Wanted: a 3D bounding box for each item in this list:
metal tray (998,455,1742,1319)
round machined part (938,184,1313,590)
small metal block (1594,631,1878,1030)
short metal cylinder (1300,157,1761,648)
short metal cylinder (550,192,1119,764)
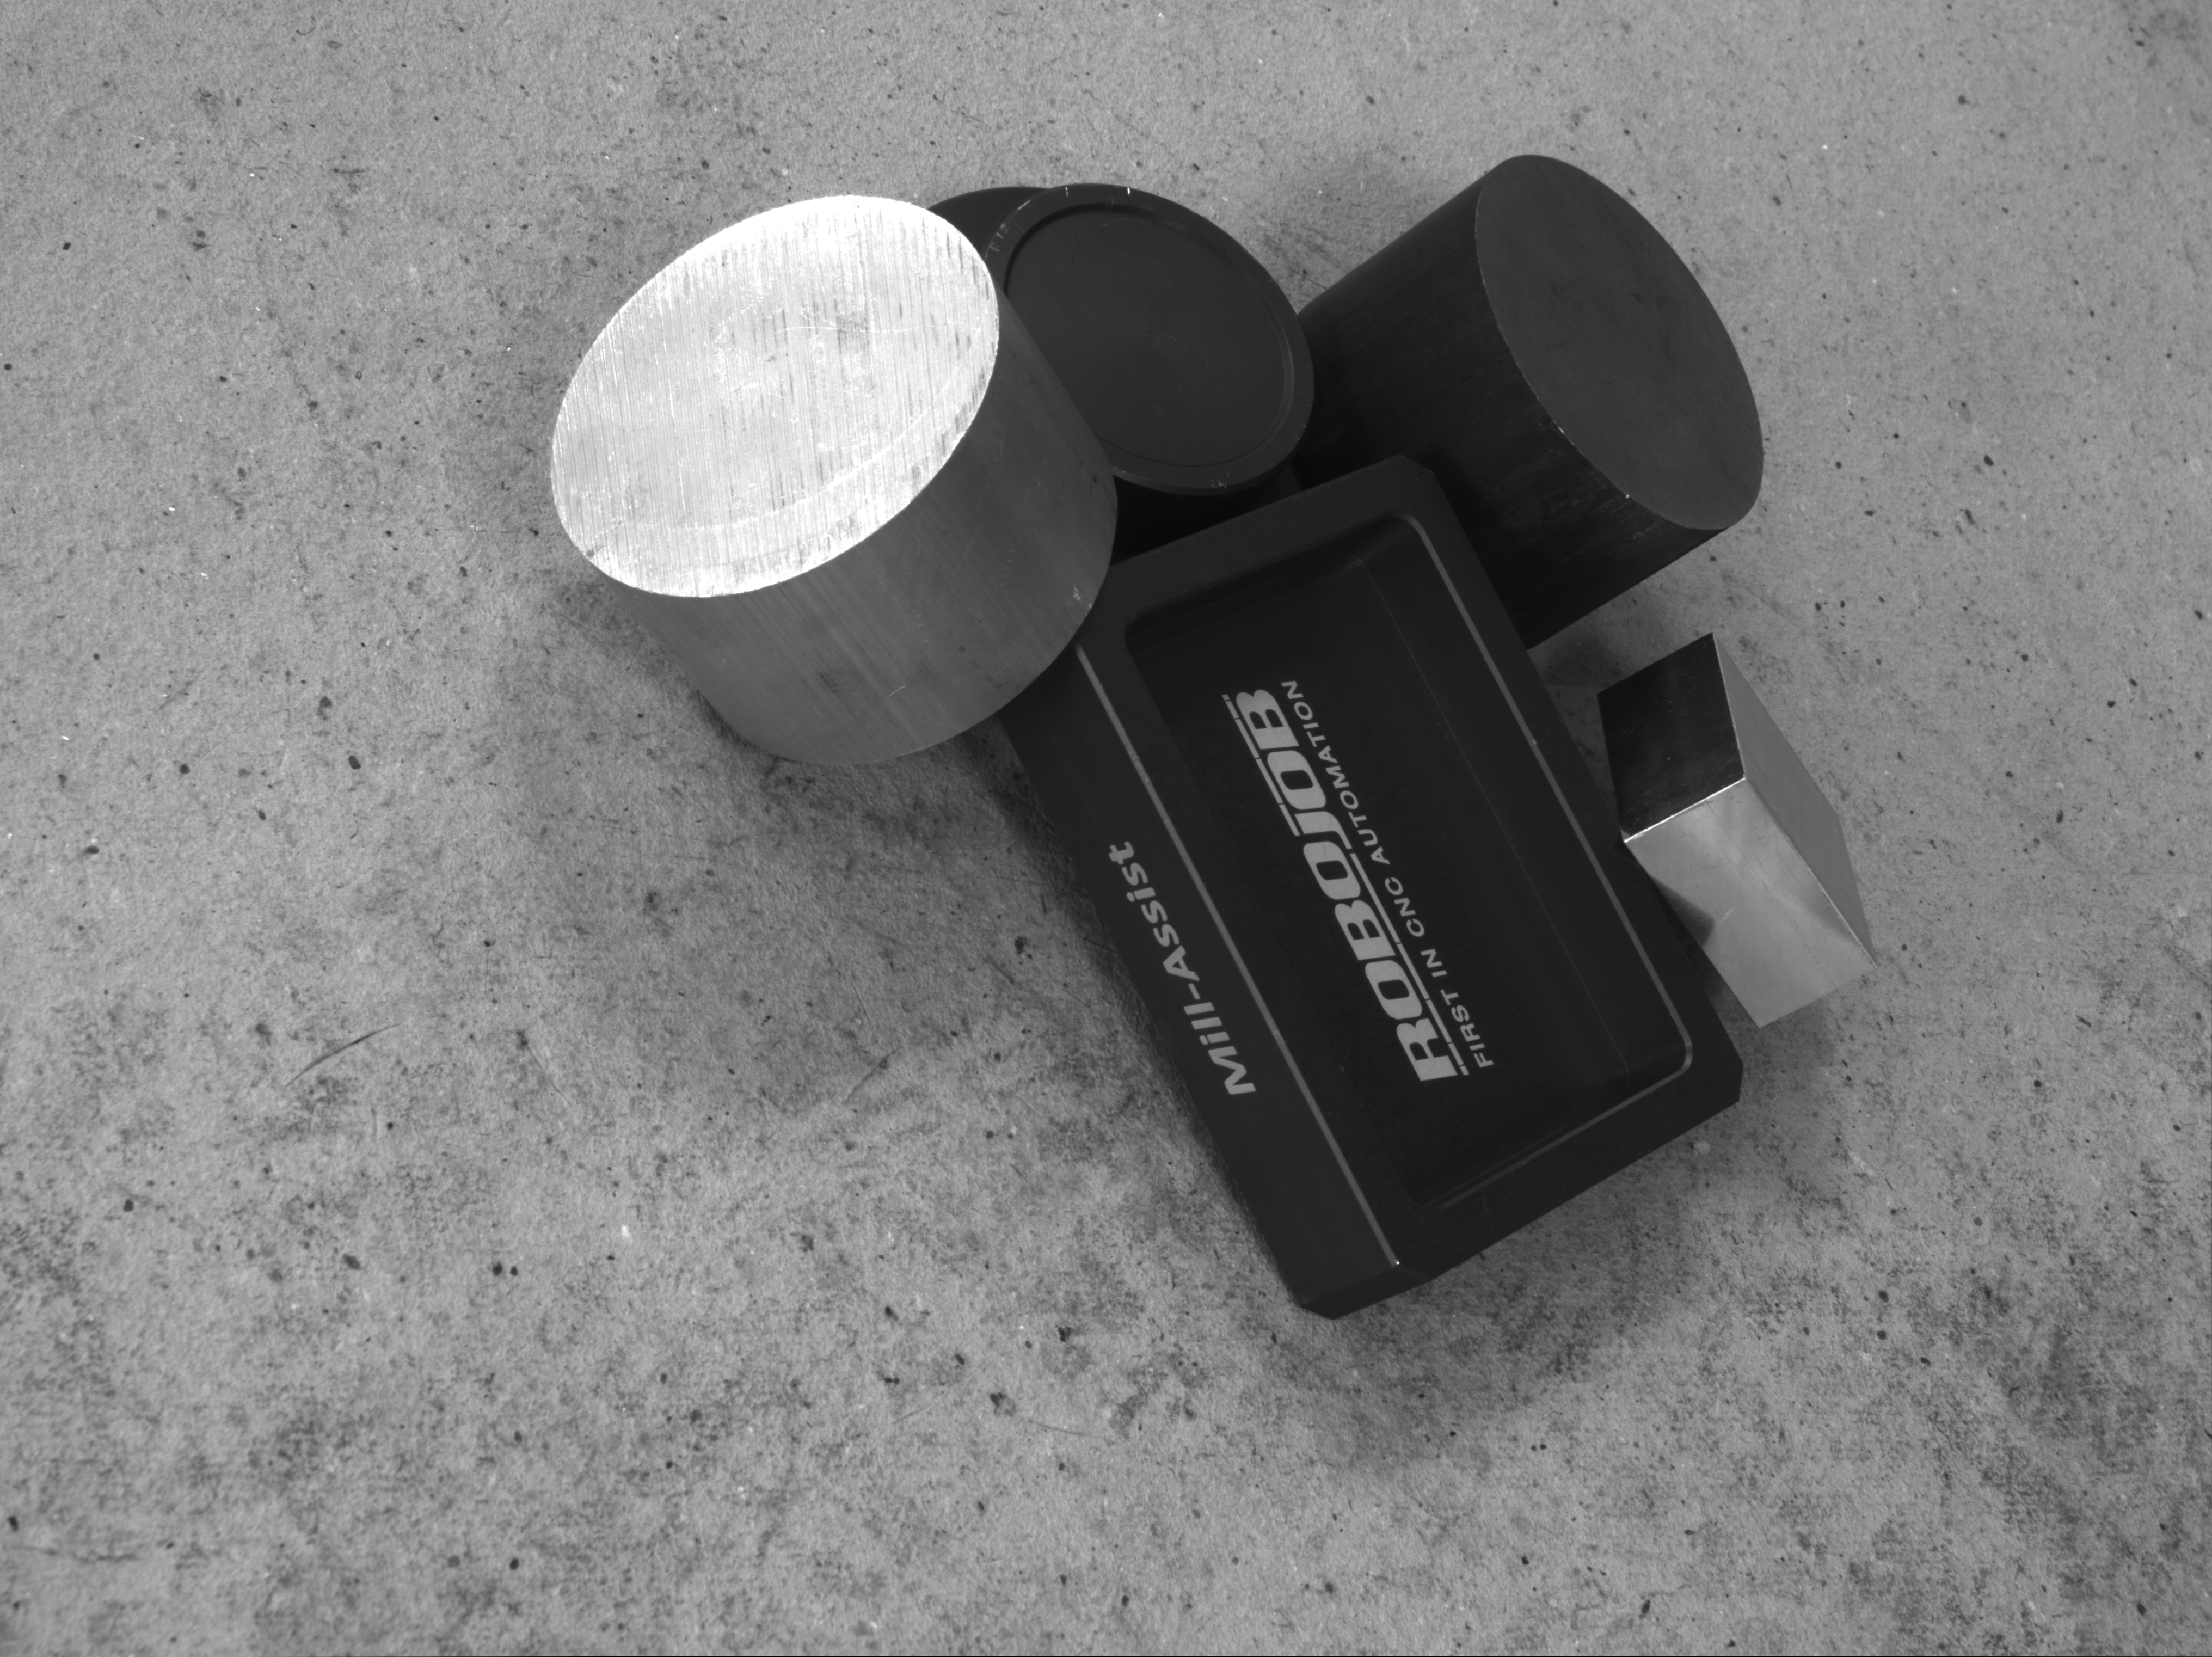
[{"bbox_3d":[0.045,0.008,0.641,0.090,0.030,0.130,-24,84,-36],"label":"metal tray"},{"bbox_3d":[-0.001,-0.079,0.677,0.098,0.042,0.098,13,56,-21],"label":"round machined part"},{"bbox_3d":[0.116,0.000,0.679,0.050,0.025,0.050,51,21,-26],"label":"small metal block"},{"bbox_3d":[0.080,-0.080,0.702,0.080,0.050,0.080,27,47,-33],"label":"short metal cylinder"},{"bbox_3d":[-0.044,-0.058,0.608,0.050,0.080,0.080,54,32,-51],"label":"short metal cylinder"}]
